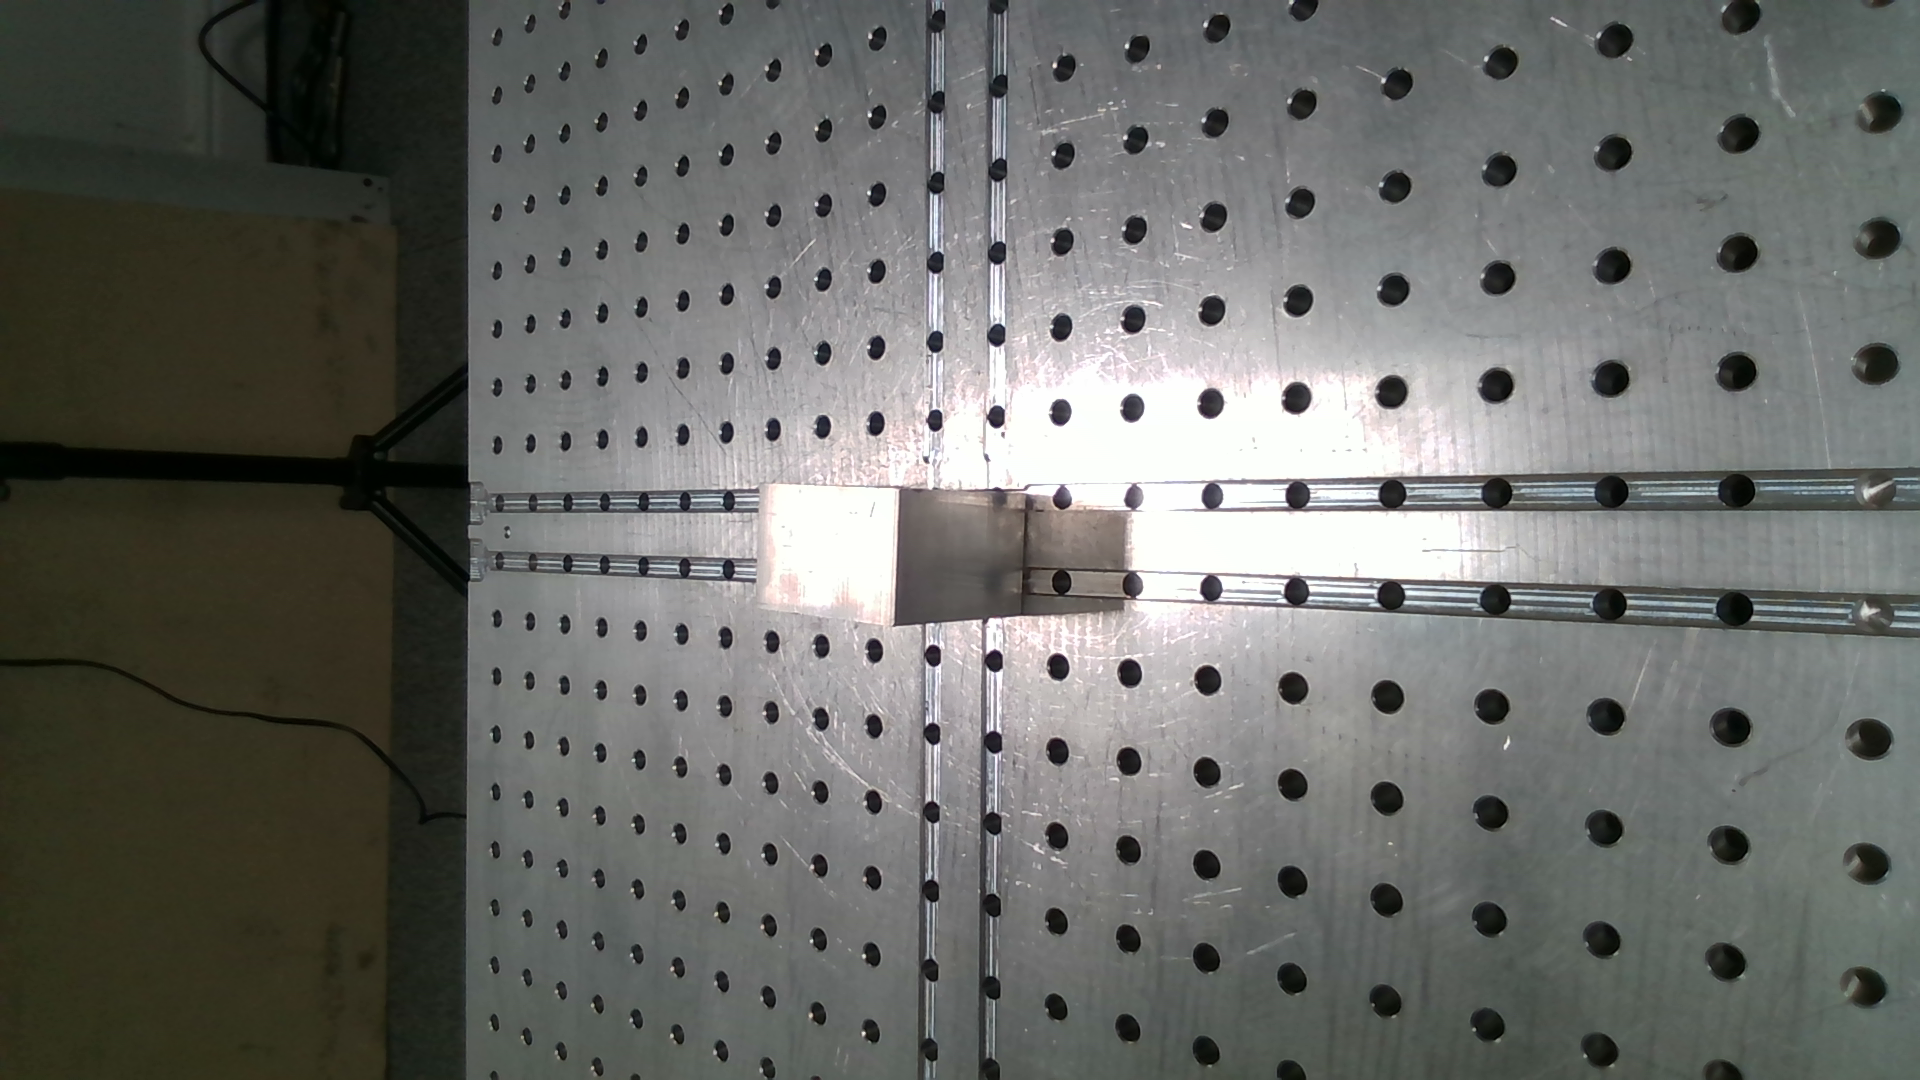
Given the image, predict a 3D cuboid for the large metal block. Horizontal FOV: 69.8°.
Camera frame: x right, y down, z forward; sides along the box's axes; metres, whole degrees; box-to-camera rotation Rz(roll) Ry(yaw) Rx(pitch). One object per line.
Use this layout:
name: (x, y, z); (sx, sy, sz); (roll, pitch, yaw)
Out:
large metal block: (-0.029, 0.004, 0.573); (0.080, 0.080, 0.050); (4, 93, 40)
